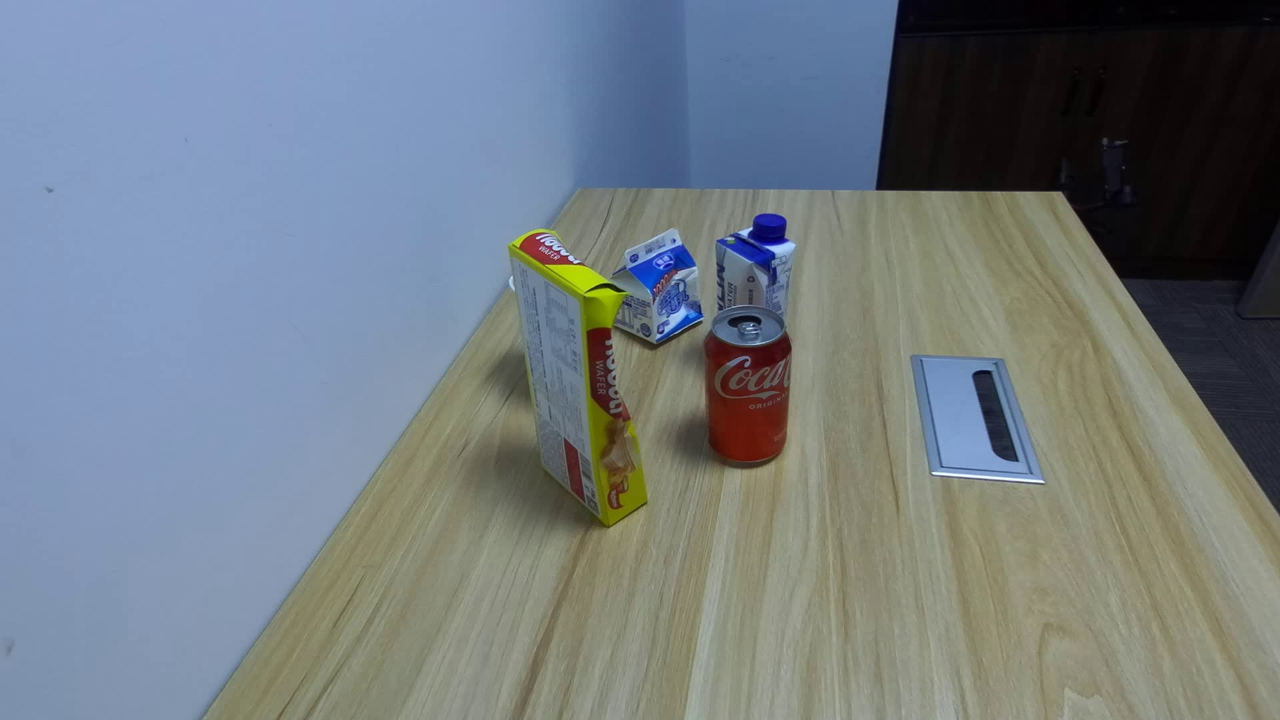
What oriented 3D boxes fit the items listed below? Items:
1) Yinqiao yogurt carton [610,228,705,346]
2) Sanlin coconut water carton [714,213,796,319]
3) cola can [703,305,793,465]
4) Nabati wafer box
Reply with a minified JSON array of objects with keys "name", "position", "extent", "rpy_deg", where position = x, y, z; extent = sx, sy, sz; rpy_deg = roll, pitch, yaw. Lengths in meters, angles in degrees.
[{"name":"Yinqiao yogurt carton","position":[0.017,-0.078,0.718],"extent":[0.077,0.094,0.070],"rpy_deg":[-28,36,-31]},{"name":"Sanlin coconut water carton","position":[0.101,-0.056,0.633],"extent":[0.061,0.144,0.060],"rpy_deg":[-25,41,-25]},{"name":"cola can","position":[0.084,0.019,0.552],"extent":[0.068,0.120,0.067],"rpy_deg":[-3,35,2]},{"name":"Nabati wafer box","position":[-0.040,0.018,0.499],"extent":[0.042,0.205,0.106],"rpy_deg":[-27,40,-28]}]
